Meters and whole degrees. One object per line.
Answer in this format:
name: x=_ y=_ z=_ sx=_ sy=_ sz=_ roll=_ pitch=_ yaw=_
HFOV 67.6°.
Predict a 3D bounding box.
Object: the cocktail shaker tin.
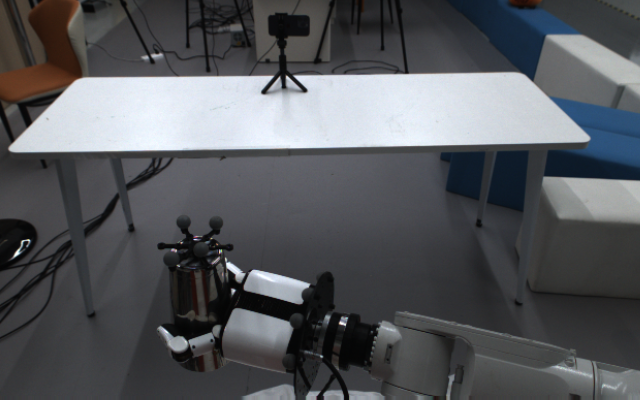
cocktail shaker tin: x=-0.153 y=0.132 z=0.632 sx=0.093 sy=0.170 sz=0.093 roll=3 pitch=34 yaw=-2
